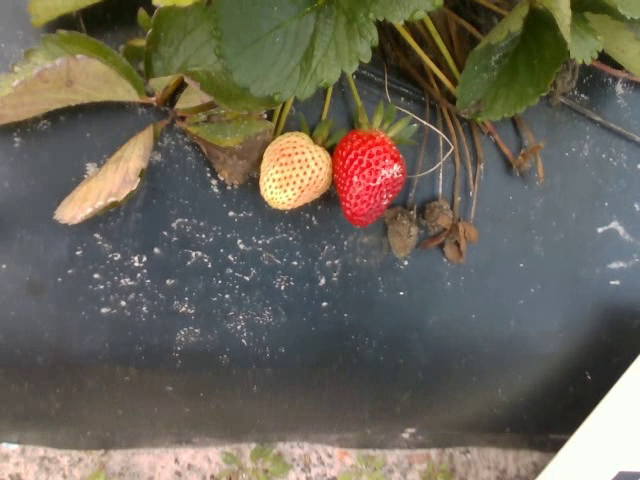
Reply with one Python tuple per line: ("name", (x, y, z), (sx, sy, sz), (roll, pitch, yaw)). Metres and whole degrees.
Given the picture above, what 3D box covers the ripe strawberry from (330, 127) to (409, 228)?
("ripe strawberry", (0.018, -0.023, 0.224), (0.034, 0.041, 0.033), (38, -37, -29))
